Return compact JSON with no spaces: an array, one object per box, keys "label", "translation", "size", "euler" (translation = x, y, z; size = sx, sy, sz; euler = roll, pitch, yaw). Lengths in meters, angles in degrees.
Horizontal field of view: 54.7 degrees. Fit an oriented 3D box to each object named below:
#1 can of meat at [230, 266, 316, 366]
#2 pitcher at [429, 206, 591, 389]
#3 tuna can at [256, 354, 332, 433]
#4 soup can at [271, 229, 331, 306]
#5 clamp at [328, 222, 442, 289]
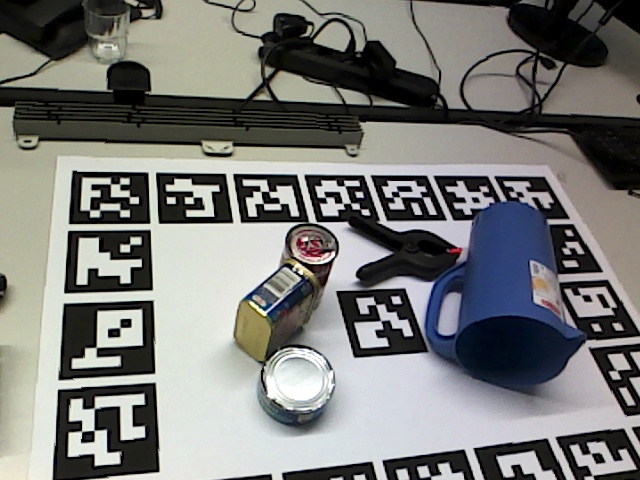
[{"label":"can of meat","translation":[-0.058,0.093,0.739],"size":[0.058,0.102,0.083],"euler":[40,55,19]},{"label":"pitcher","translation":[0.244,0.065,0.826],"size":[0.189,0.133,0.243],"euler":[-1,38,13]},{"label":"tuna can","translation":[-0.032,0.178,0.720],"size":[0.085,0.034,0.086],"euler":[8,49,-9]},{"label":"soup can","translation":[-0.028,0.043,0.799],"size":[0.068,0.102,0.068],"euler":[6,50,-8]},{"label":"clamp","translation":[0.102,0.023,0.909],"size":[0.164,0.036,0.122],"euler":[3,44,-18]}]
